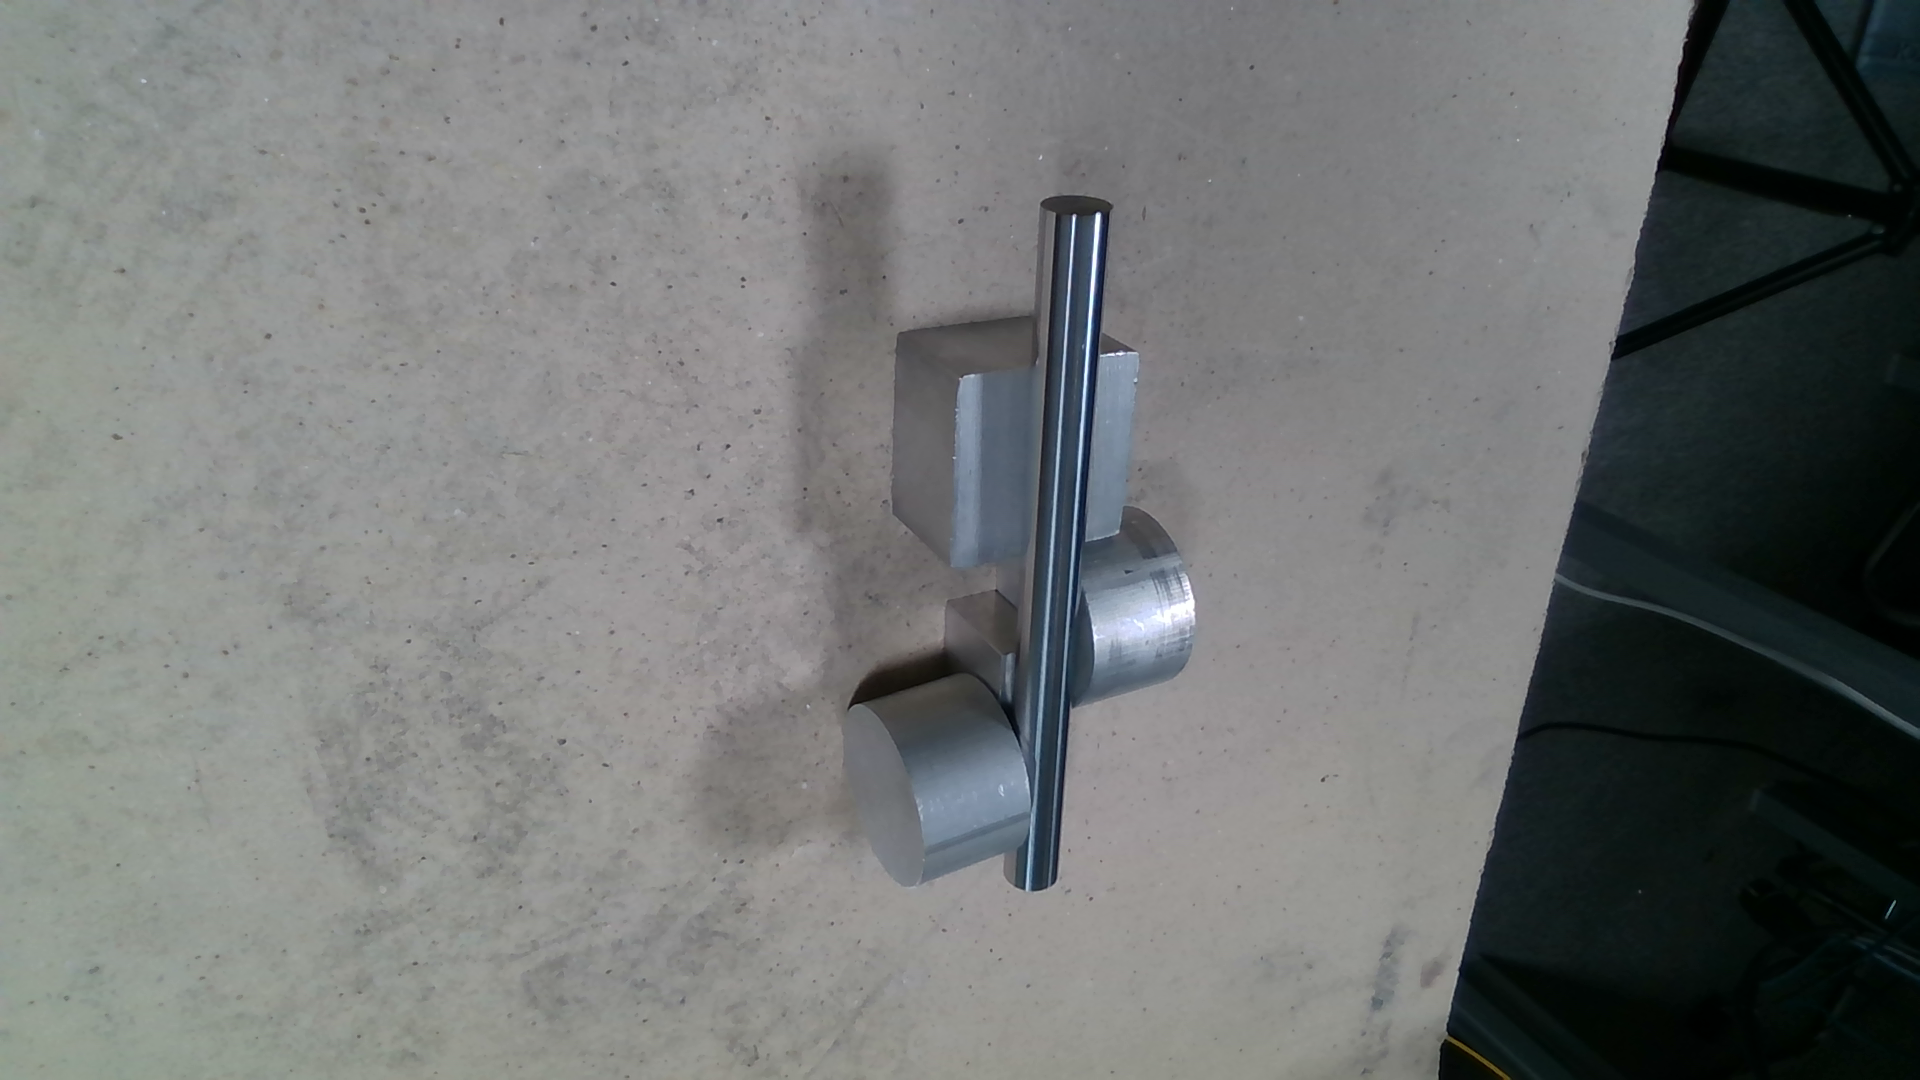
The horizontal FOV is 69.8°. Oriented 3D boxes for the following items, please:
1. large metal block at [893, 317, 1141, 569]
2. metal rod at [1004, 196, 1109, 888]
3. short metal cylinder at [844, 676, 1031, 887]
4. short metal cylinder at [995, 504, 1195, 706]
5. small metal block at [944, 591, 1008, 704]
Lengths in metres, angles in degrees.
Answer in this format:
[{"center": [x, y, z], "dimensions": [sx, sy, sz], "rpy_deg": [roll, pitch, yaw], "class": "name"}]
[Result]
[{"center": [0.021, -0.042, 0.551], "dimensions": [0.080, 0.050, 0.080], "rpy_deg": [-11, 120, -26], "class": "large metal block"}, {"center": [0.035, 0.016, 0.545], "dimensions": [0.025, 0.025, 0.301], "rpy_deg": [-13, 122, -25], "class": "metal rod"}, {"center": [-0.011, 0.102, 0.593], "dimensions": [0.050, 0.080, 0.080], "rpy_deg": [-15, 122, -25], "class": "short metal cylinder"}, {"center": [0.057, 0.028, 0.596], "dimensions": [0.050, 0.080, 0.080], "rpy_deg": [-12, 121, -26], "class": "short metal cylinder"}, {"center": [0.016, 0.058, 0.604], "dimensions": [0.025, 0.050, 0.050], "rpy_deg": [-13, 121, -25], "class": "small metal block"}]
